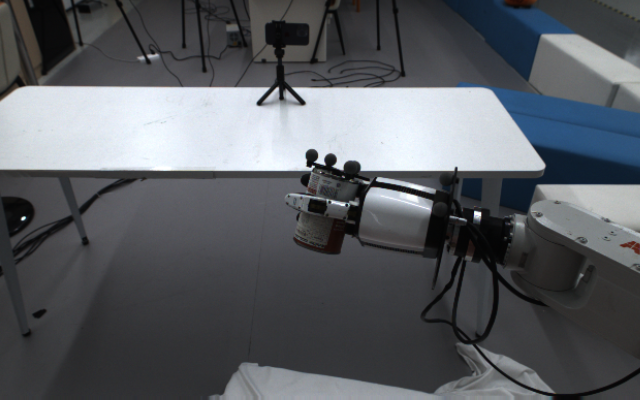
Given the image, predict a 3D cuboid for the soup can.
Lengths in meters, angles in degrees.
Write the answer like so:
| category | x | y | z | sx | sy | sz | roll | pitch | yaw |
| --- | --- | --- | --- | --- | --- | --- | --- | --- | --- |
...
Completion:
| category | x | y | z | sx | sy | sz | roll | pitch | yaw |
| --- | --- | --- | --- | --- | --- | --- | --- | --- | --- |
| soup can | 0.010 | 0.015 | 0.651 | 0.067 | 0.101 | 0.067 | 15 | 7 | -2 |
